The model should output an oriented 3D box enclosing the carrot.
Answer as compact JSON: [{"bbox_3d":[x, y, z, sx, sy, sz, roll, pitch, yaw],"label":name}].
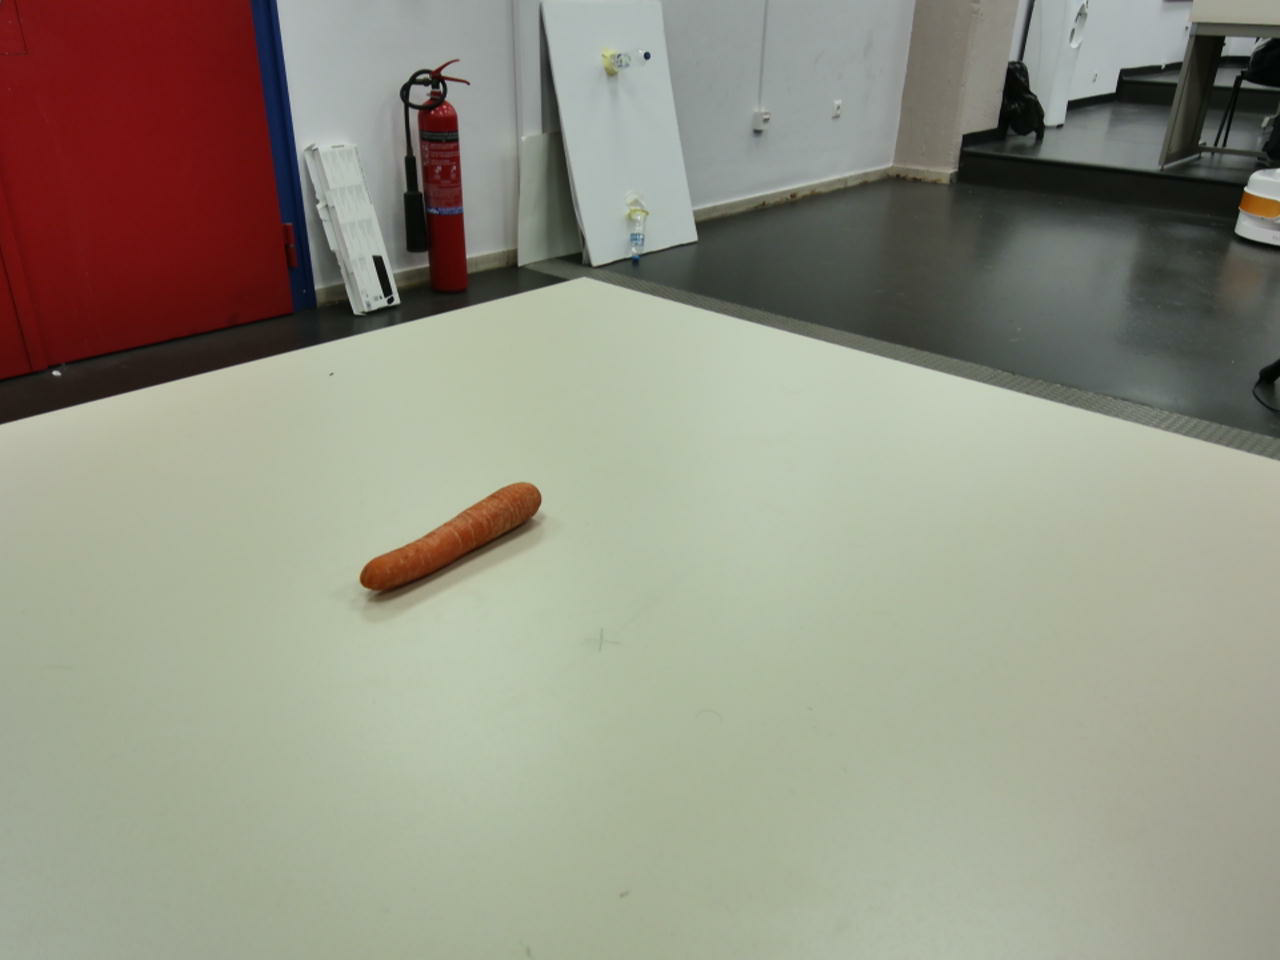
[{"bbox_3d":[-0.097,0.029,0.529,0.024,0.023,0.122,19,30,34],"label":"carrot"}]
